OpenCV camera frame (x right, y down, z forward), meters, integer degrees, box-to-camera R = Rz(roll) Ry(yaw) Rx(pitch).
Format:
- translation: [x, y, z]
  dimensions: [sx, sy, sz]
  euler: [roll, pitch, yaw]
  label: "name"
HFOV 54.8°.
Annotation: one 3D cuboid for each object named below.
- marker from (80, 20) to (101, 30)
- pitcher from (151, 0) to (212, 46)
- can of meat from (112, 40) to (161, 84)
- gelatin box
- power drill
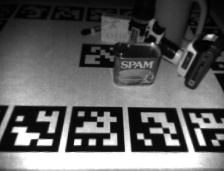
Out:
- translation: [-0.038, -0.189, 0.650]
  dimensions: [0.122, 0.020, 0.019]
  euler: [-21, 52, -21]
  label: "marker"
- translation: [0.165, -0.219, 0.556]
  dimensions: [0.187, 0.244, 0.134]
  euler: [21, 53, 24]
  label: "pitcher"
- translation: [0.050, -0.051, 0.485]
  dimensions: [0.102, 0.084, 0.057]
  euler: [0, 45, -5]
  label: "can of meat"
- translation: [0.018, -0.164, 0.600]
  dimensions: [0.089, 0.073, 0.030]
  euler: [9, 51, 3]
  label: "gelatin box"
- translation: [0.118, -0.129, 0.500]
  dimensions: [0.185, 0.185, 0.057]
  euler: [31, 55, 15]
  label: "power drill"
